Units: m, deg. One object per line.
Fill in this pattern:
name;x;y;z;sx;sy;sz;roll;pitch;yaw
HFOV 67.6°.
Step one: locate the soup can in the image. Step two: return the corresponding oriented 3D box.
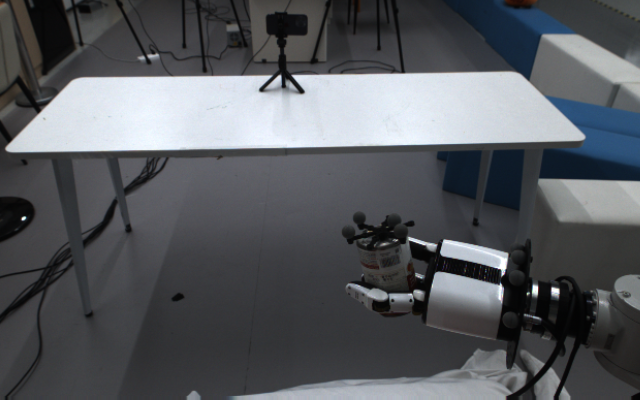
soup can;0.090;0.091;0.628;0.067;0.101;0.067;-12;19;4
